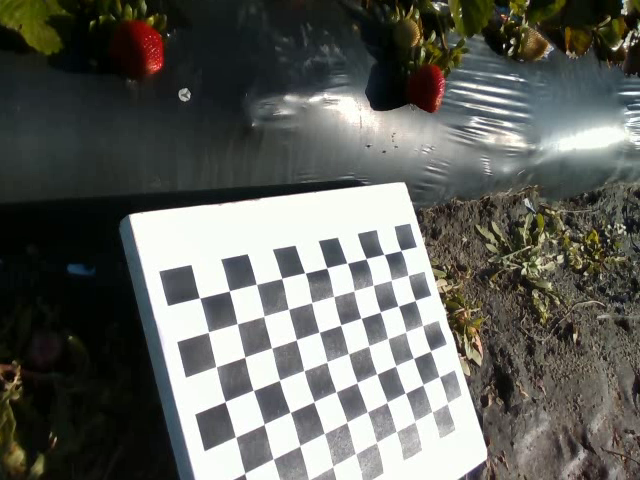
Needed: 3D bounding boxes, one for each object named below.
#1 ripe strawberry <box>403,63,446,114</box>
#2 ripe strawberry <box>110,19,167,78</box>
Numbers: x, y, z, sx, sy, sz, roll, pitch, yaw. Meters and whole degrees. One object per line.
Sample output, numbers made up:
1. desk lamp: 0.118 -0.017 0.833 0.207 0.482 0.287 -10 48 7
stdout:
1. ripe strawberry: 0.099 -0.137 0.560 0.042 0.059 0.042 19 -37 -38
2. ripe strawberry: -0.125 -0.130 0.416 0.045 0.042 0.055 1 43 -44
